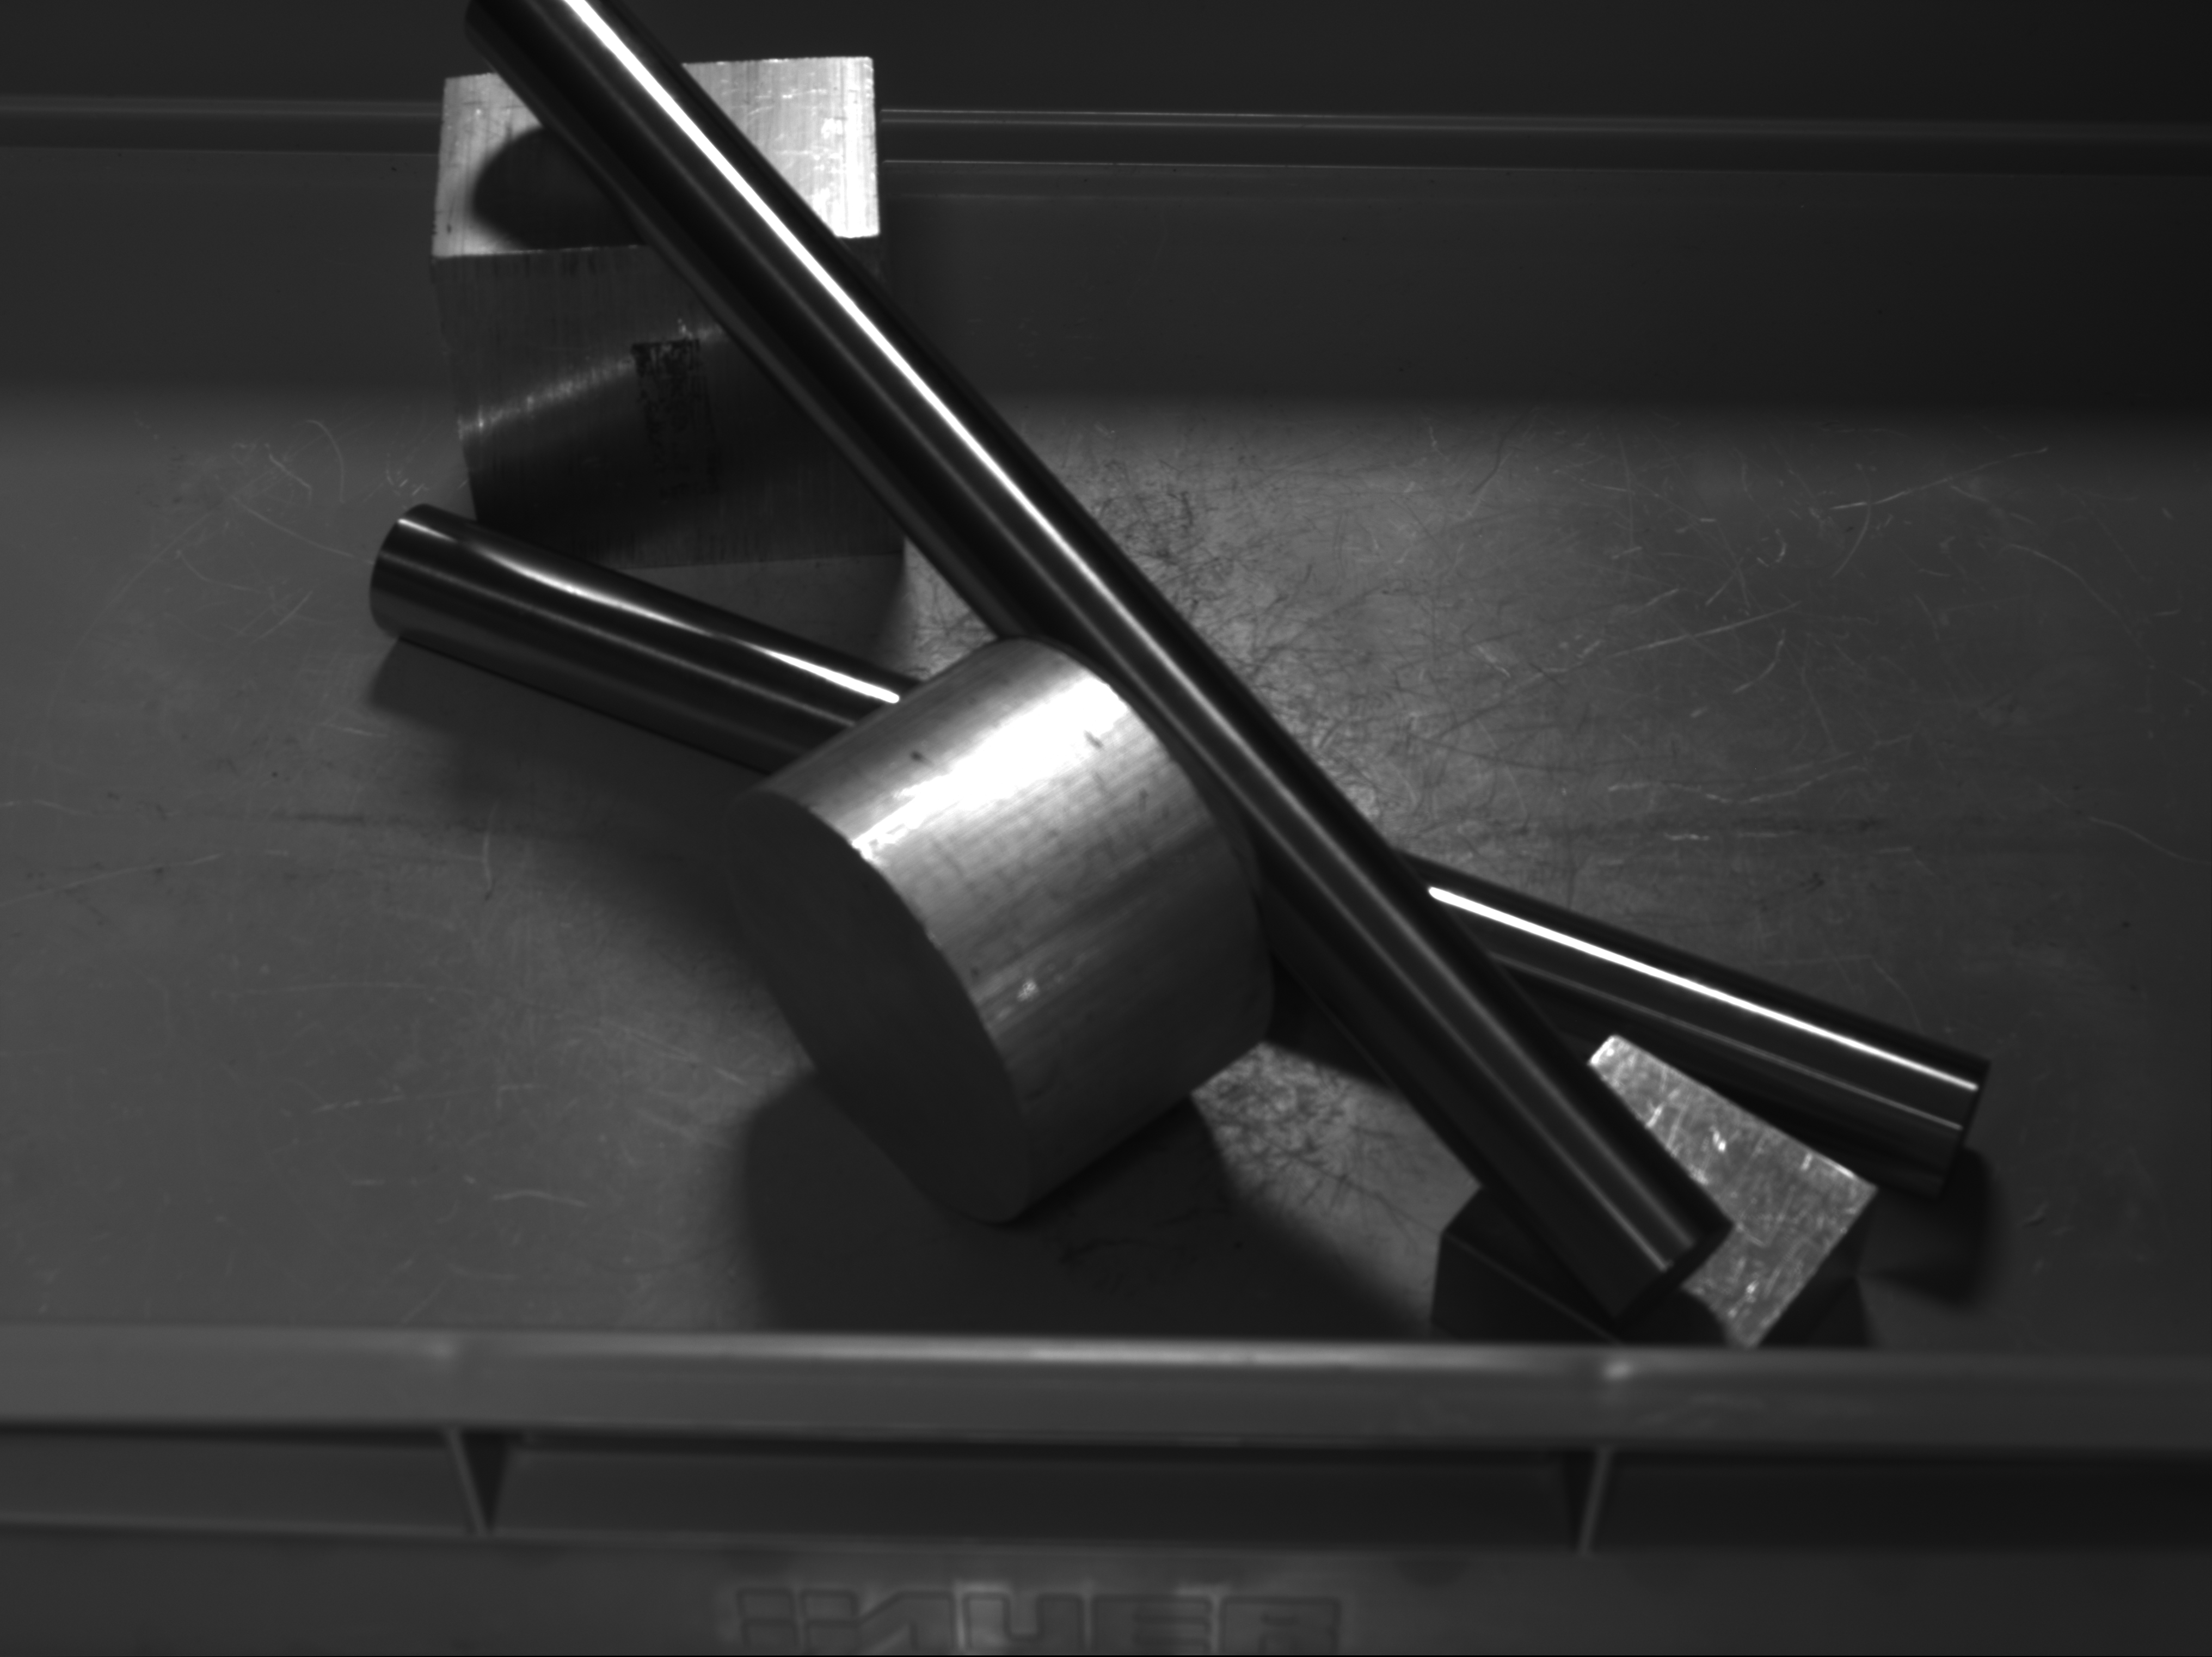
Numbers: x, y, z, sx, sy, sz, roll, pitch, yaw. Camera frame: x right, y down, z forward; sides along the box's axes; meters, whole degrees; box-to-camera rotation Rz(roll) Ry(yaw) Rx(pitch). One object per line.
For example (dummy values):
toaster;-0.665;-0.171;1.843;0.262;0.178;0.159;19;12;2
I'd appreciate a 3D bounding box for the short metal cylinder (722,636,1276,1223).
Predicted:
short metal cylinder;-0.018;0.016;0.590;0.050;0.080;0.080;-32;57;-24

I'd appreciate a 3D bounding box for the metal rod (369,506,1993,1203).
metal rod;0.005;0.001;0.640;0.300;0.025;0.025;20;53;16

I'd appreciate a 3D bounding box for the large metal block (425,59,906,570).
large metal block;-0.080;-0.095;0.686;0.080;0.080;0.050;-3;50;-2

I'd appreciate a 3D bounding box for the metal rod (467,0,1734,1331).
metal rod;-0.009;-0.040;0.598;0.025;0.025;0.300;-32;69;-24

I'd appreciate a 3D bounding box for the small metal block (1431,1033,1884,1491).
small metal block;0.088;0.068;0.583;0.050;0.025;0.050;31;56;24
